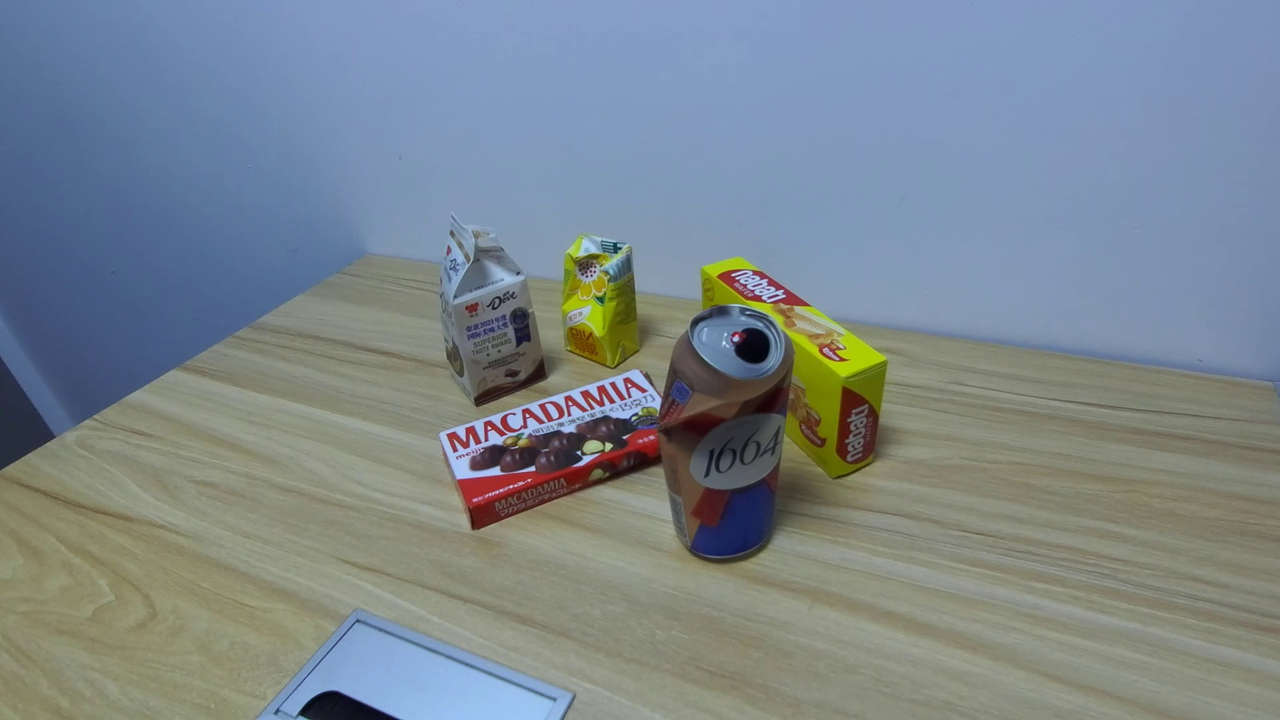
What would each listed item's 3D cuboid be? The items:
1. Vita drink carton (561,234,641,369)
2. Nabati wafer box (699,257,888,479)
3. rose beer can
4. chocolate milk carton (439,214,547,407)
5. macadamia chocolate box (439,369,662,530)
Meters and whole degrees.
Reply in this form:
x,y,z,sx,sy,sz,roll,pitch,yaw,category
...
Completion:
x,y,z,sx,sy,sz,roll,pitch,yaw,category
-0.040,-0.055,0.658,0.071,0.110,0.046,19,37,36,Vita drink carton
0.115,-0.002,0.574,0.042,0.093,0.202,-17,35,-18,Nabati wafer box
0.053,0.048,0.436,0.069,0.168,0.069,9,38,16,rose beer can
-0.139,-0.051,0.623,0.073,0.155,0.084,-21,36,-22,chocolate milk carton
-0.055,0.065,0.560,0.187,0.027,0.102,-19,38,-18,macadamia chocolate box
